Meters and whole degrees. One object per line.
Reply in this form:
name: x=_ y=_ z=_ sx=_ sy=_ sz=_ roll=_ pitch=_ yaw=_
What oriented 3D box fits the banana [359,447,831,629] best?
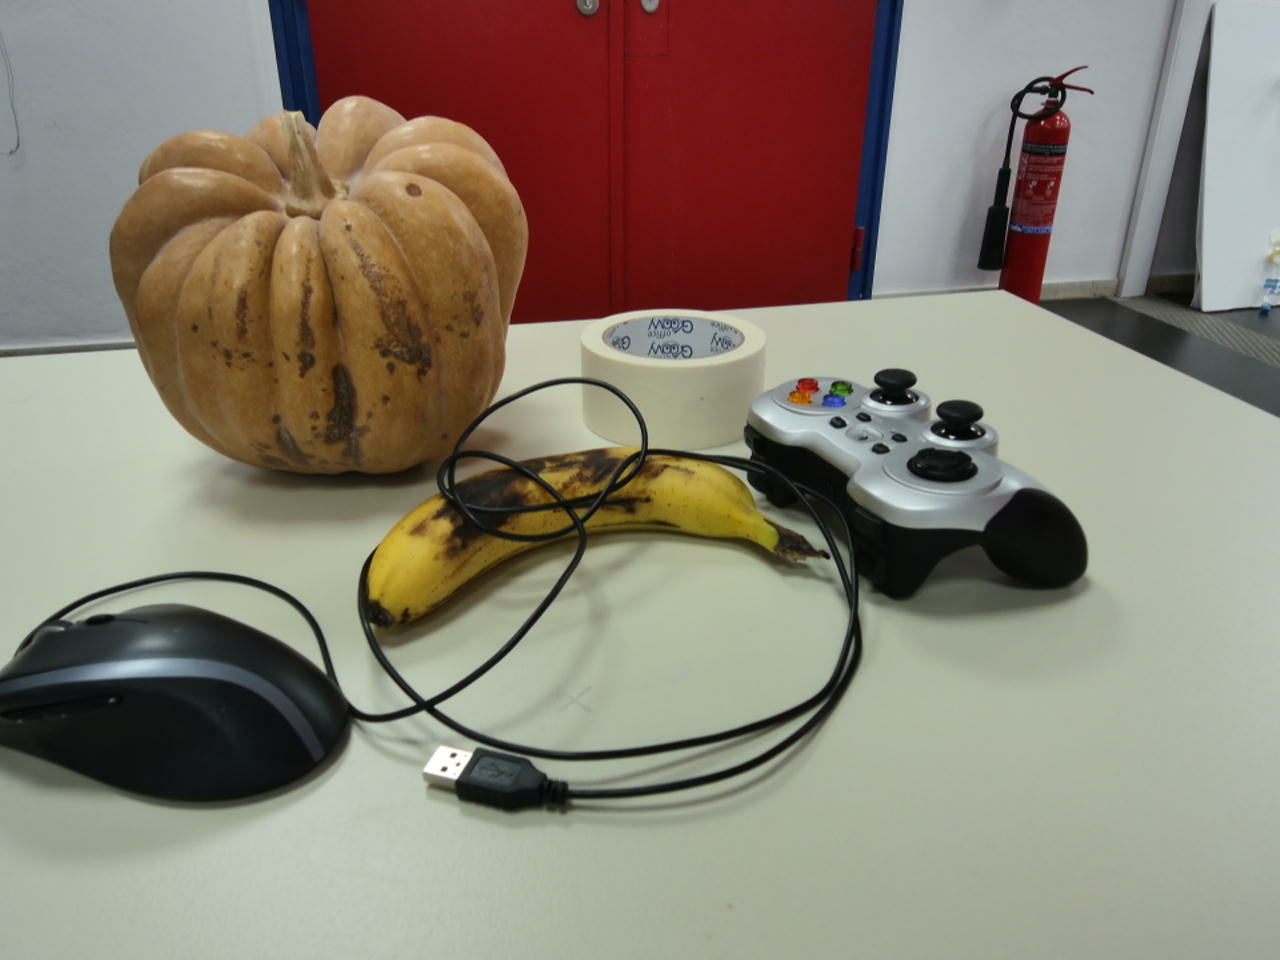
banana: x=-0.025 y=0.018 z=0.429 sx=0.187 sy=0.039 sz=0.094 roll=-6 pitch=25 yaw=-14
